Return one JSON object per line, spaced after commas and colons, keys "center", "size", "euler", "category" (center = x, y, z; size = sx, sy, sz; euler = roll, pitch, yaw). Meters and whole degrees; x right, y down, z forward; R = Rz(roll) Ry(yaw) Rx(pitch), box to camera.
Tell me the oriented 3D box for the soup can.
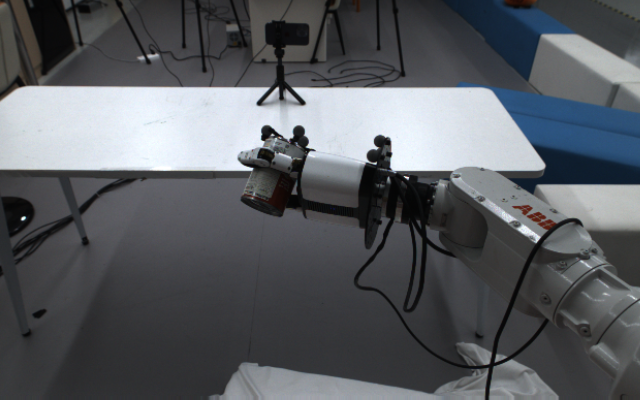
{"center": [-0.068, -0.034, 0.714], "size": [0.067, 0.067, 0.101], "euler": [16, 75, 19], "category": "soup can"}
